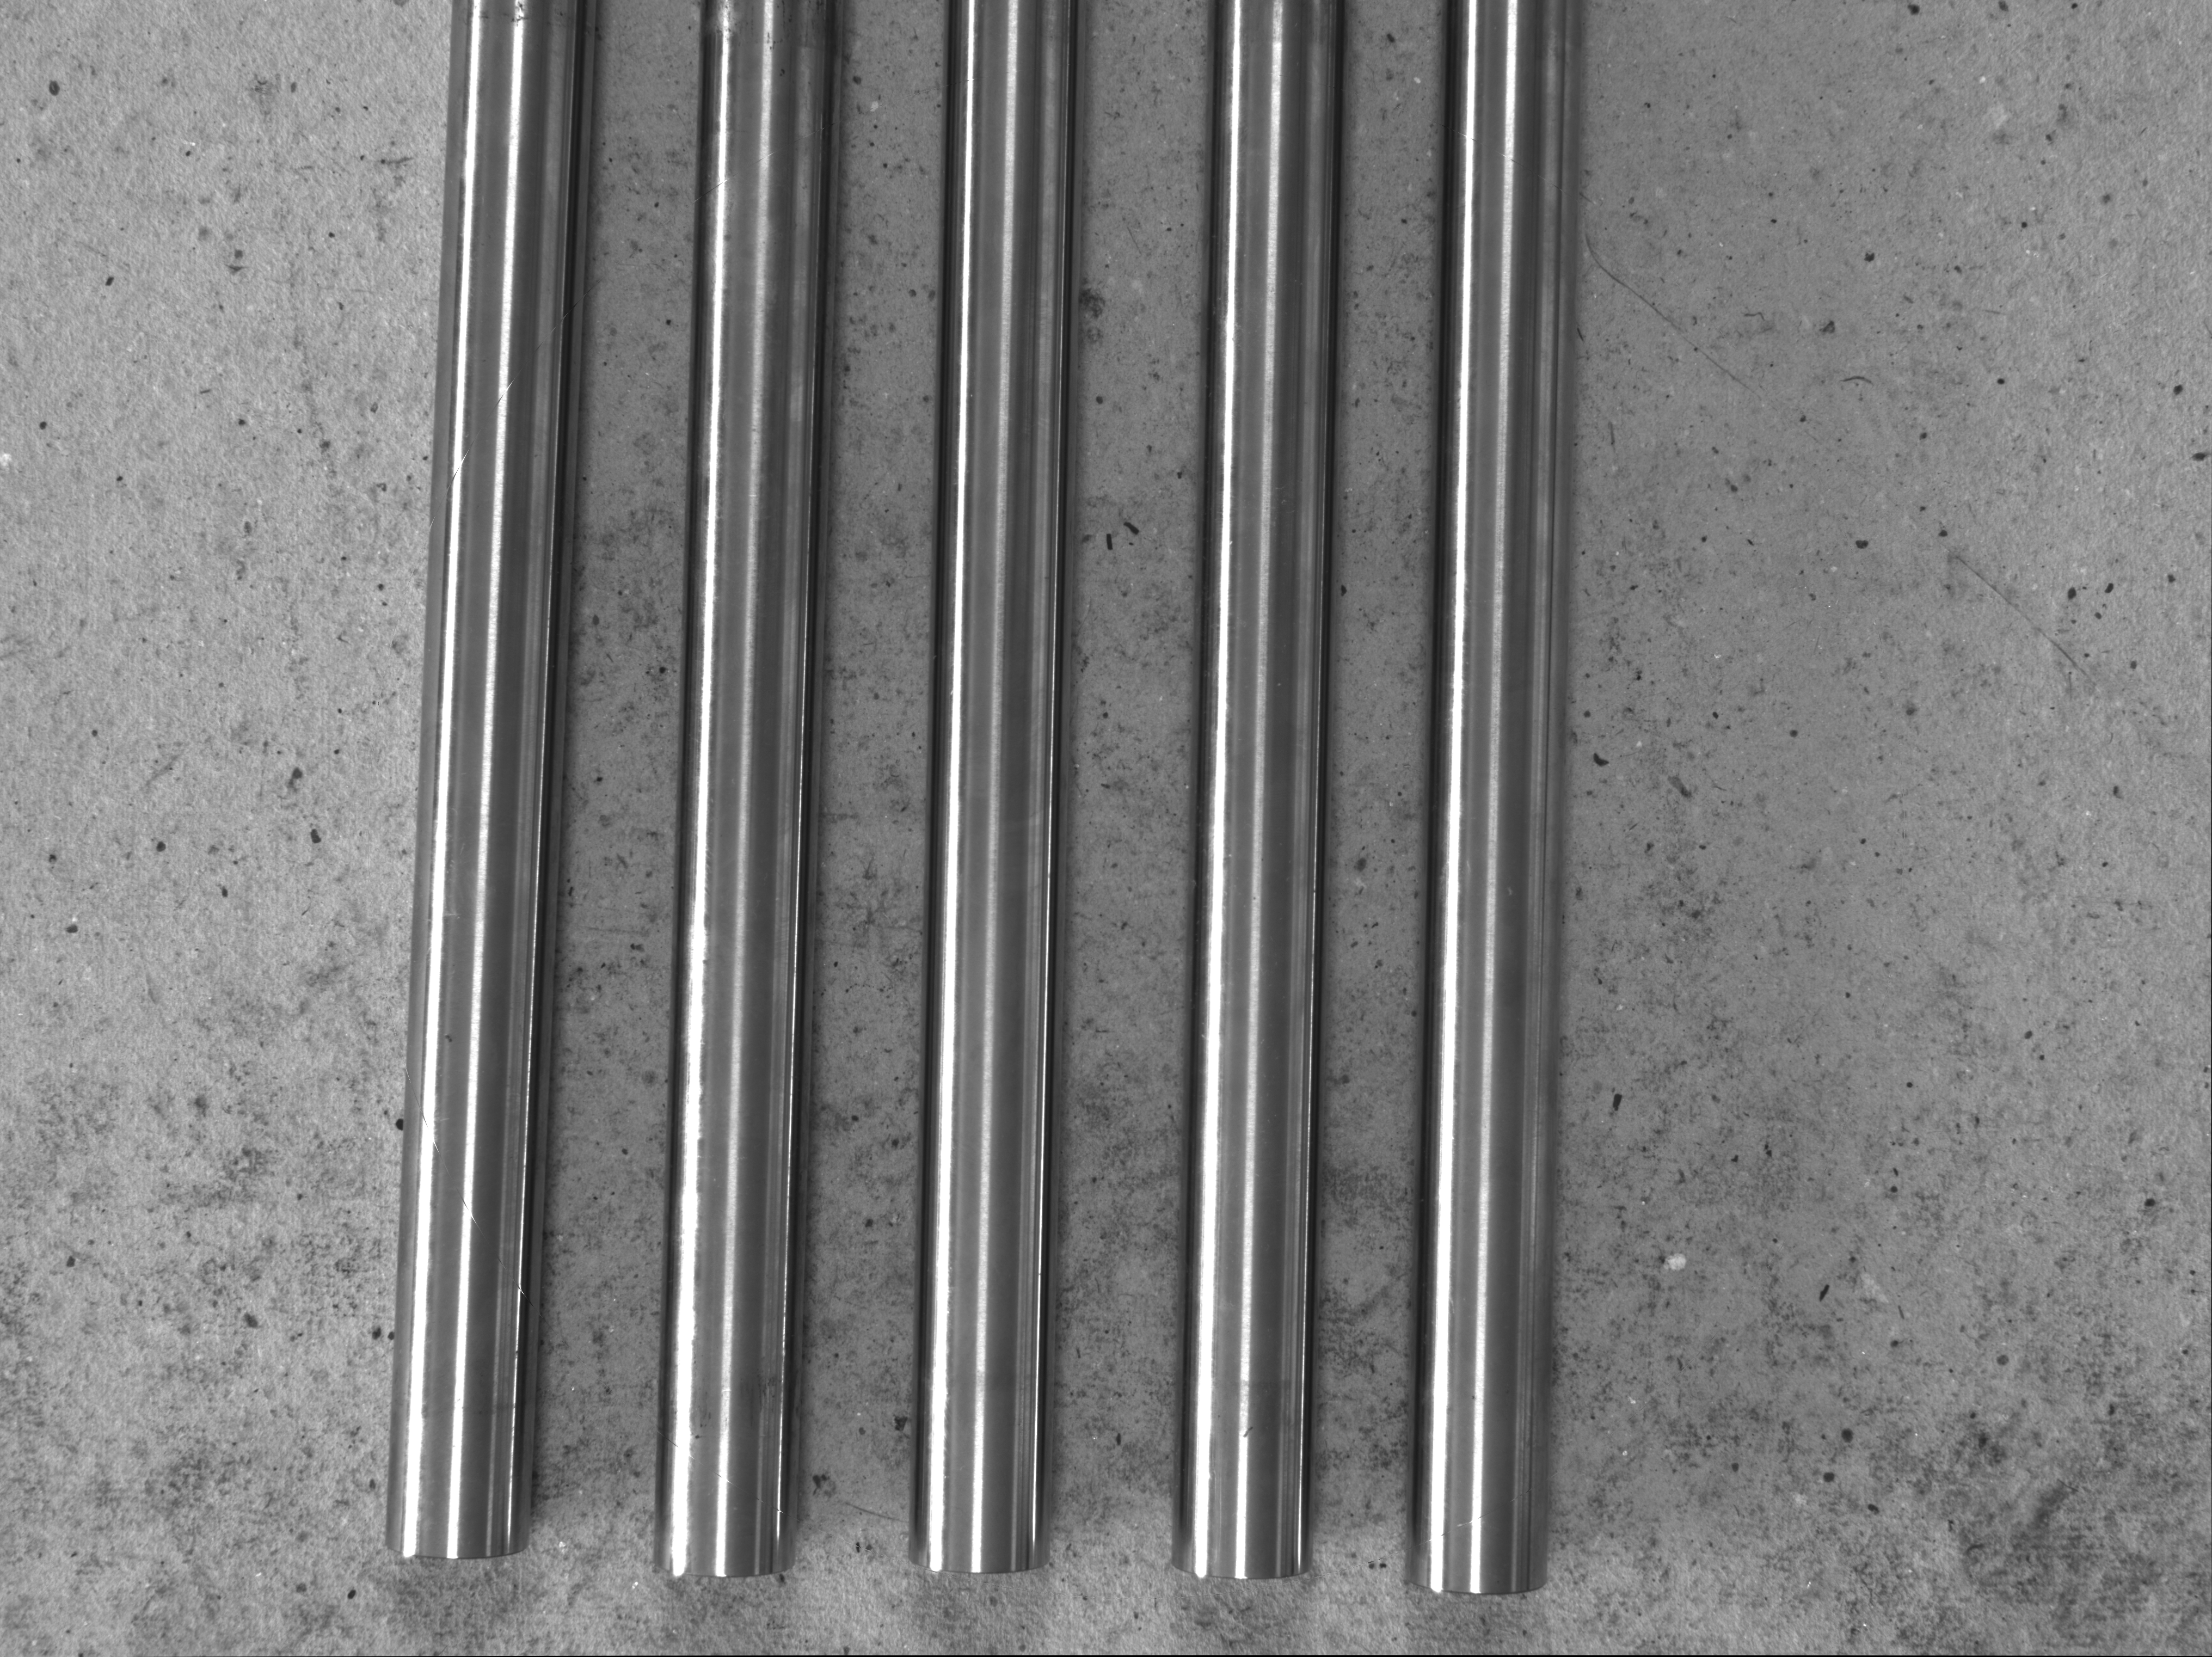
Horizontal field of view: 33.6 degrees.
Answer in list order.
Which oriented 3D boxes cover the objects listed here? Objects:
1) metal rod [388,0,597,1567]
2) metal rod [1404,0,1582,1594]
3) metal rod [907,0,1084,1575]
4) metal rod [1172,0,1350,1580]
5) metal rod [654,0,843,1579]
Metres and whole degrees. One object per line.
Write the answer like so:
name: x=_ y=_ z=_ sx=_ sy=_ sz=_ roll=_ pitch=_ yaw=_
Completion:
metal rod: x=-0.107 y=-0.023 z=0.644 sx=0.025 sy=0.025 sz=0.300 roll=2 pitch=90 yaw=0
metal rod: x=0.068 y=-0.018 z=0.645 sx=0.025 sy=0.025 sz=0.300 roll=1 pitch=90 yaw=0
metal rod: x=-0.019 y=-0.021 z=0.645 sx=0.025 sy=0.025 sz=0.300 roll=1 pitch=90 yaw=0
metal rod: x=0.028 y=-0.020 z=0.645 sx=0.025 sy=0.025 sz=0.300 roll=1 pitch=90 yaw=0
metal rod: x=-0.062 y=-0.021 z=0.645 sx=0.025 sy=0.025 sz=0.300 roll=2 pitch=90 yaw=0
